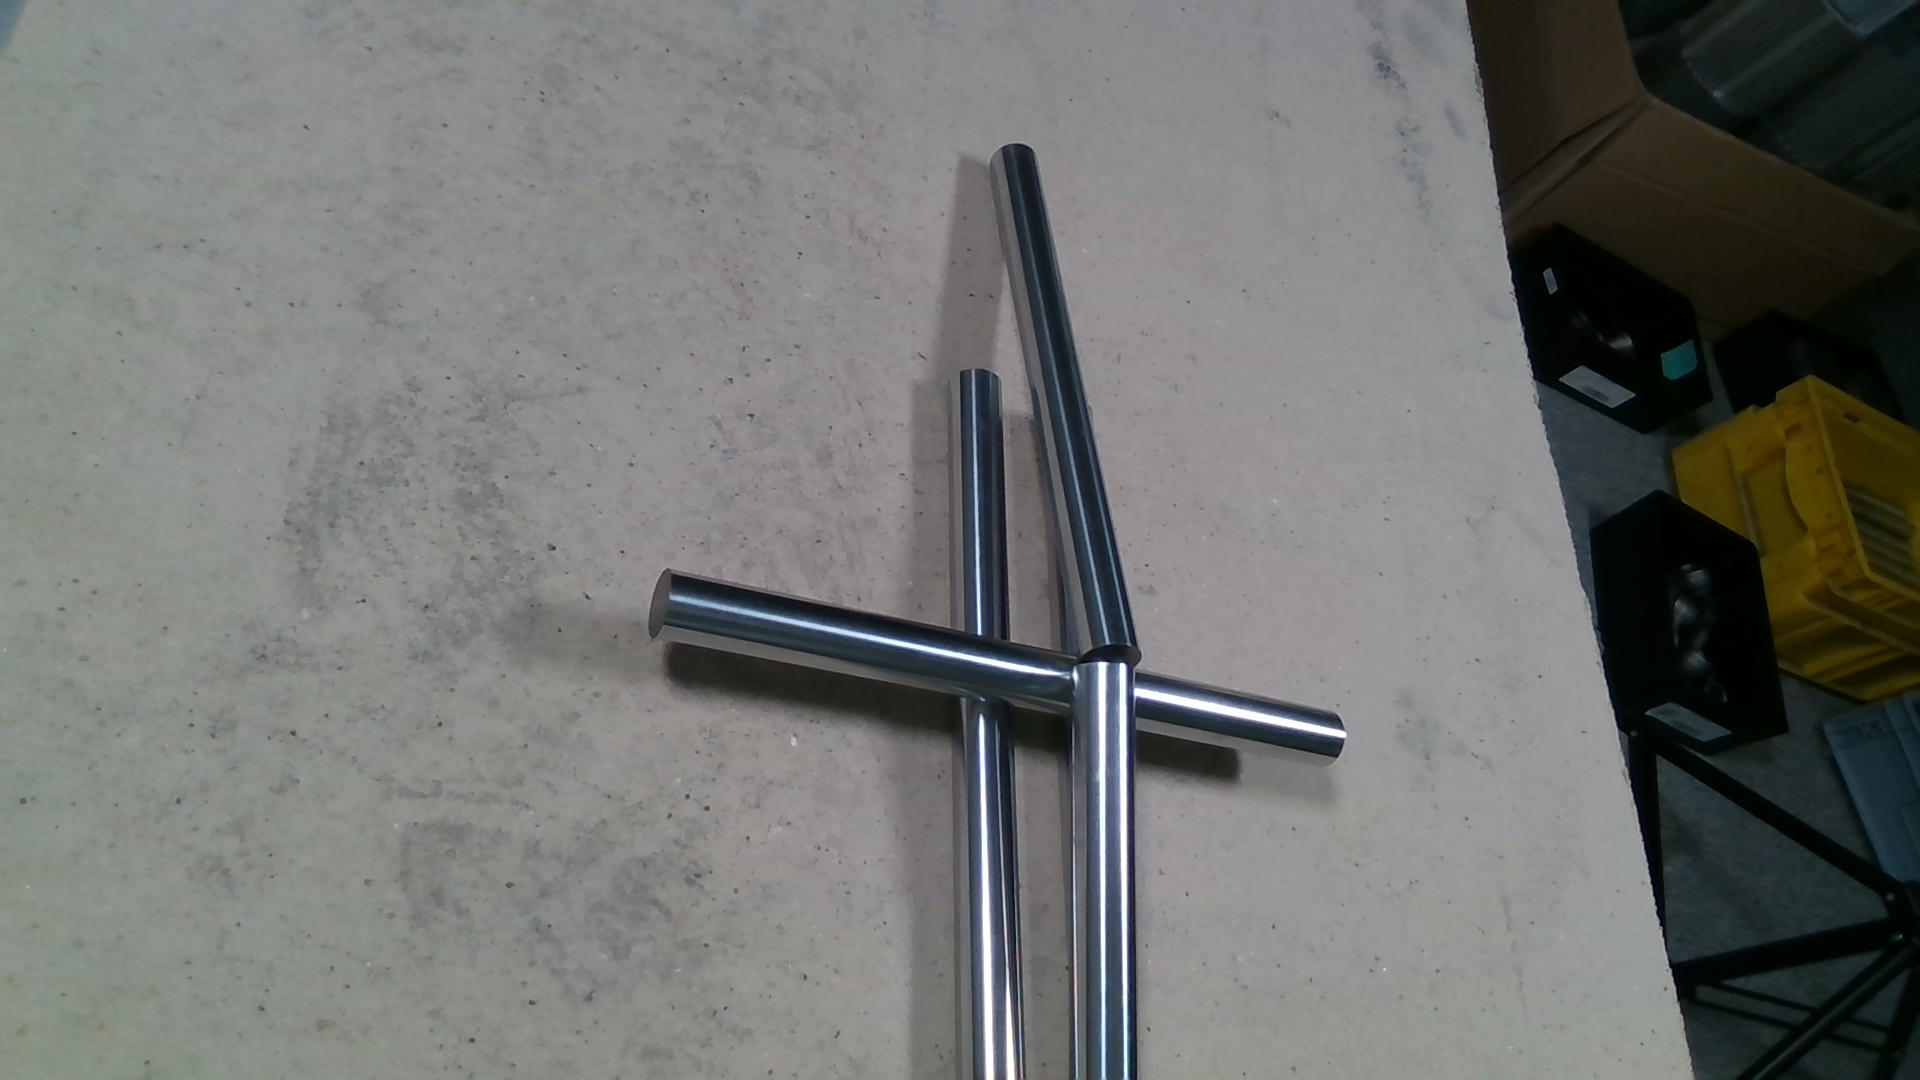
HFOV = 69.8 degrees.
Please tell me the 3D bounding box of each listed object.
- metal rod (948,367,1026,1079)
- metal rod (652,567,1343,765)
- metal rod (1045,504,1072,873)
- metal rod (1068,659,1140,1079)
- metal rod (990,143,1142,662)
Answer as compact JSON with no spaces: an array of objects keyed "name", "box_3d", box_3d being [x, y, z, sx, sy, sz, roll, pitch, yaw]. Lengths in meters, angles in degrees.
[{"name":"metal rod","box_3d":[0.009,0.060,0.558,0.025,0.025,0.299,13,59,-25]},{"name":"metal rod","box_3d":[0.028,0.054,0.542,0.300,0.025,0.025,14,59,-25]},{"name":"metal rod","box_3d":[0.053,0.072,0.580,0.025,0.025,0.299,13,59,-25]},{"name":"metal rod","box_3d":[0.051,0.191,0.483,0.025,0.025,0.299,11,70,-26]},{"name":"metal rod","box_3d":[0.043,-0.073,0.619,0.025,0.025,0.299,13,50,-26]}]
